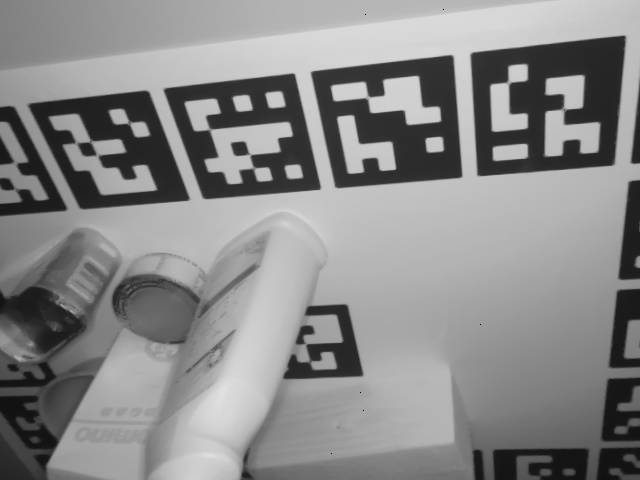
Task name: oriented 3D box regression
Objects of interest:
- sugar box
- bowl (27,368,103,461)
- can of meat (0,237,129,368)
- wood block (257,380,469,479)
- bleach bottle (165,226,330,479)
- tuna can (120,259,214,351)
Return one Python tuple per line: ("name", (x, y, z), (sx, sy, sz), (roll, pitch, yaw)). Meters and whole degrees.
("sugar box", (-0.159, 0.153, 0.624), (0.093, 0.178, 0.045), (13, 125, -6))
("bowl", (-0.217, 0.186, 0.734), (0.162, 0.055, 0.160), (1, 126, 2))
("can of meat", (-0.227, 0.055, 0.627), (0.100, 0.084, 0.058), (-30, 120, 27))
("wood block", (0.042, 0.217, 0.709), (0.205, 0.091, 0.090), (-11, 120, 15))
("bleach bottle", (-0.055, 0.098, 0.530), (0.101, 0.253, 0.068), (-26, 120, 23))
("tuna can", (-0.137, 0.060, 0.644), (0.085, 0.034, 0.085), (2, 123, 5))
